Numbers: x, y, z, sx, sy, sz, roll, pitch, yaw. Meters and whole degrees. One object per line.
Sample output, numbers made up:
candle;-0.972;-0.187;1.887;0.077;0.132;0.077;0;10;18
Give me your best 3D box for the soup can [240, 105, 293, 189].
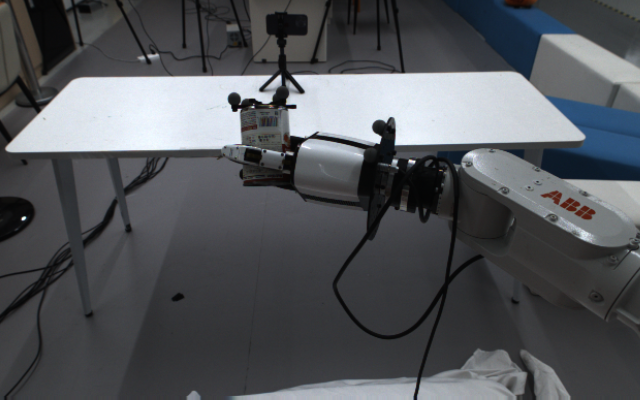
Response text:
soup can;-0.072;-0.070;0.650;0.067;0.101;0.067;-3;-1;0
